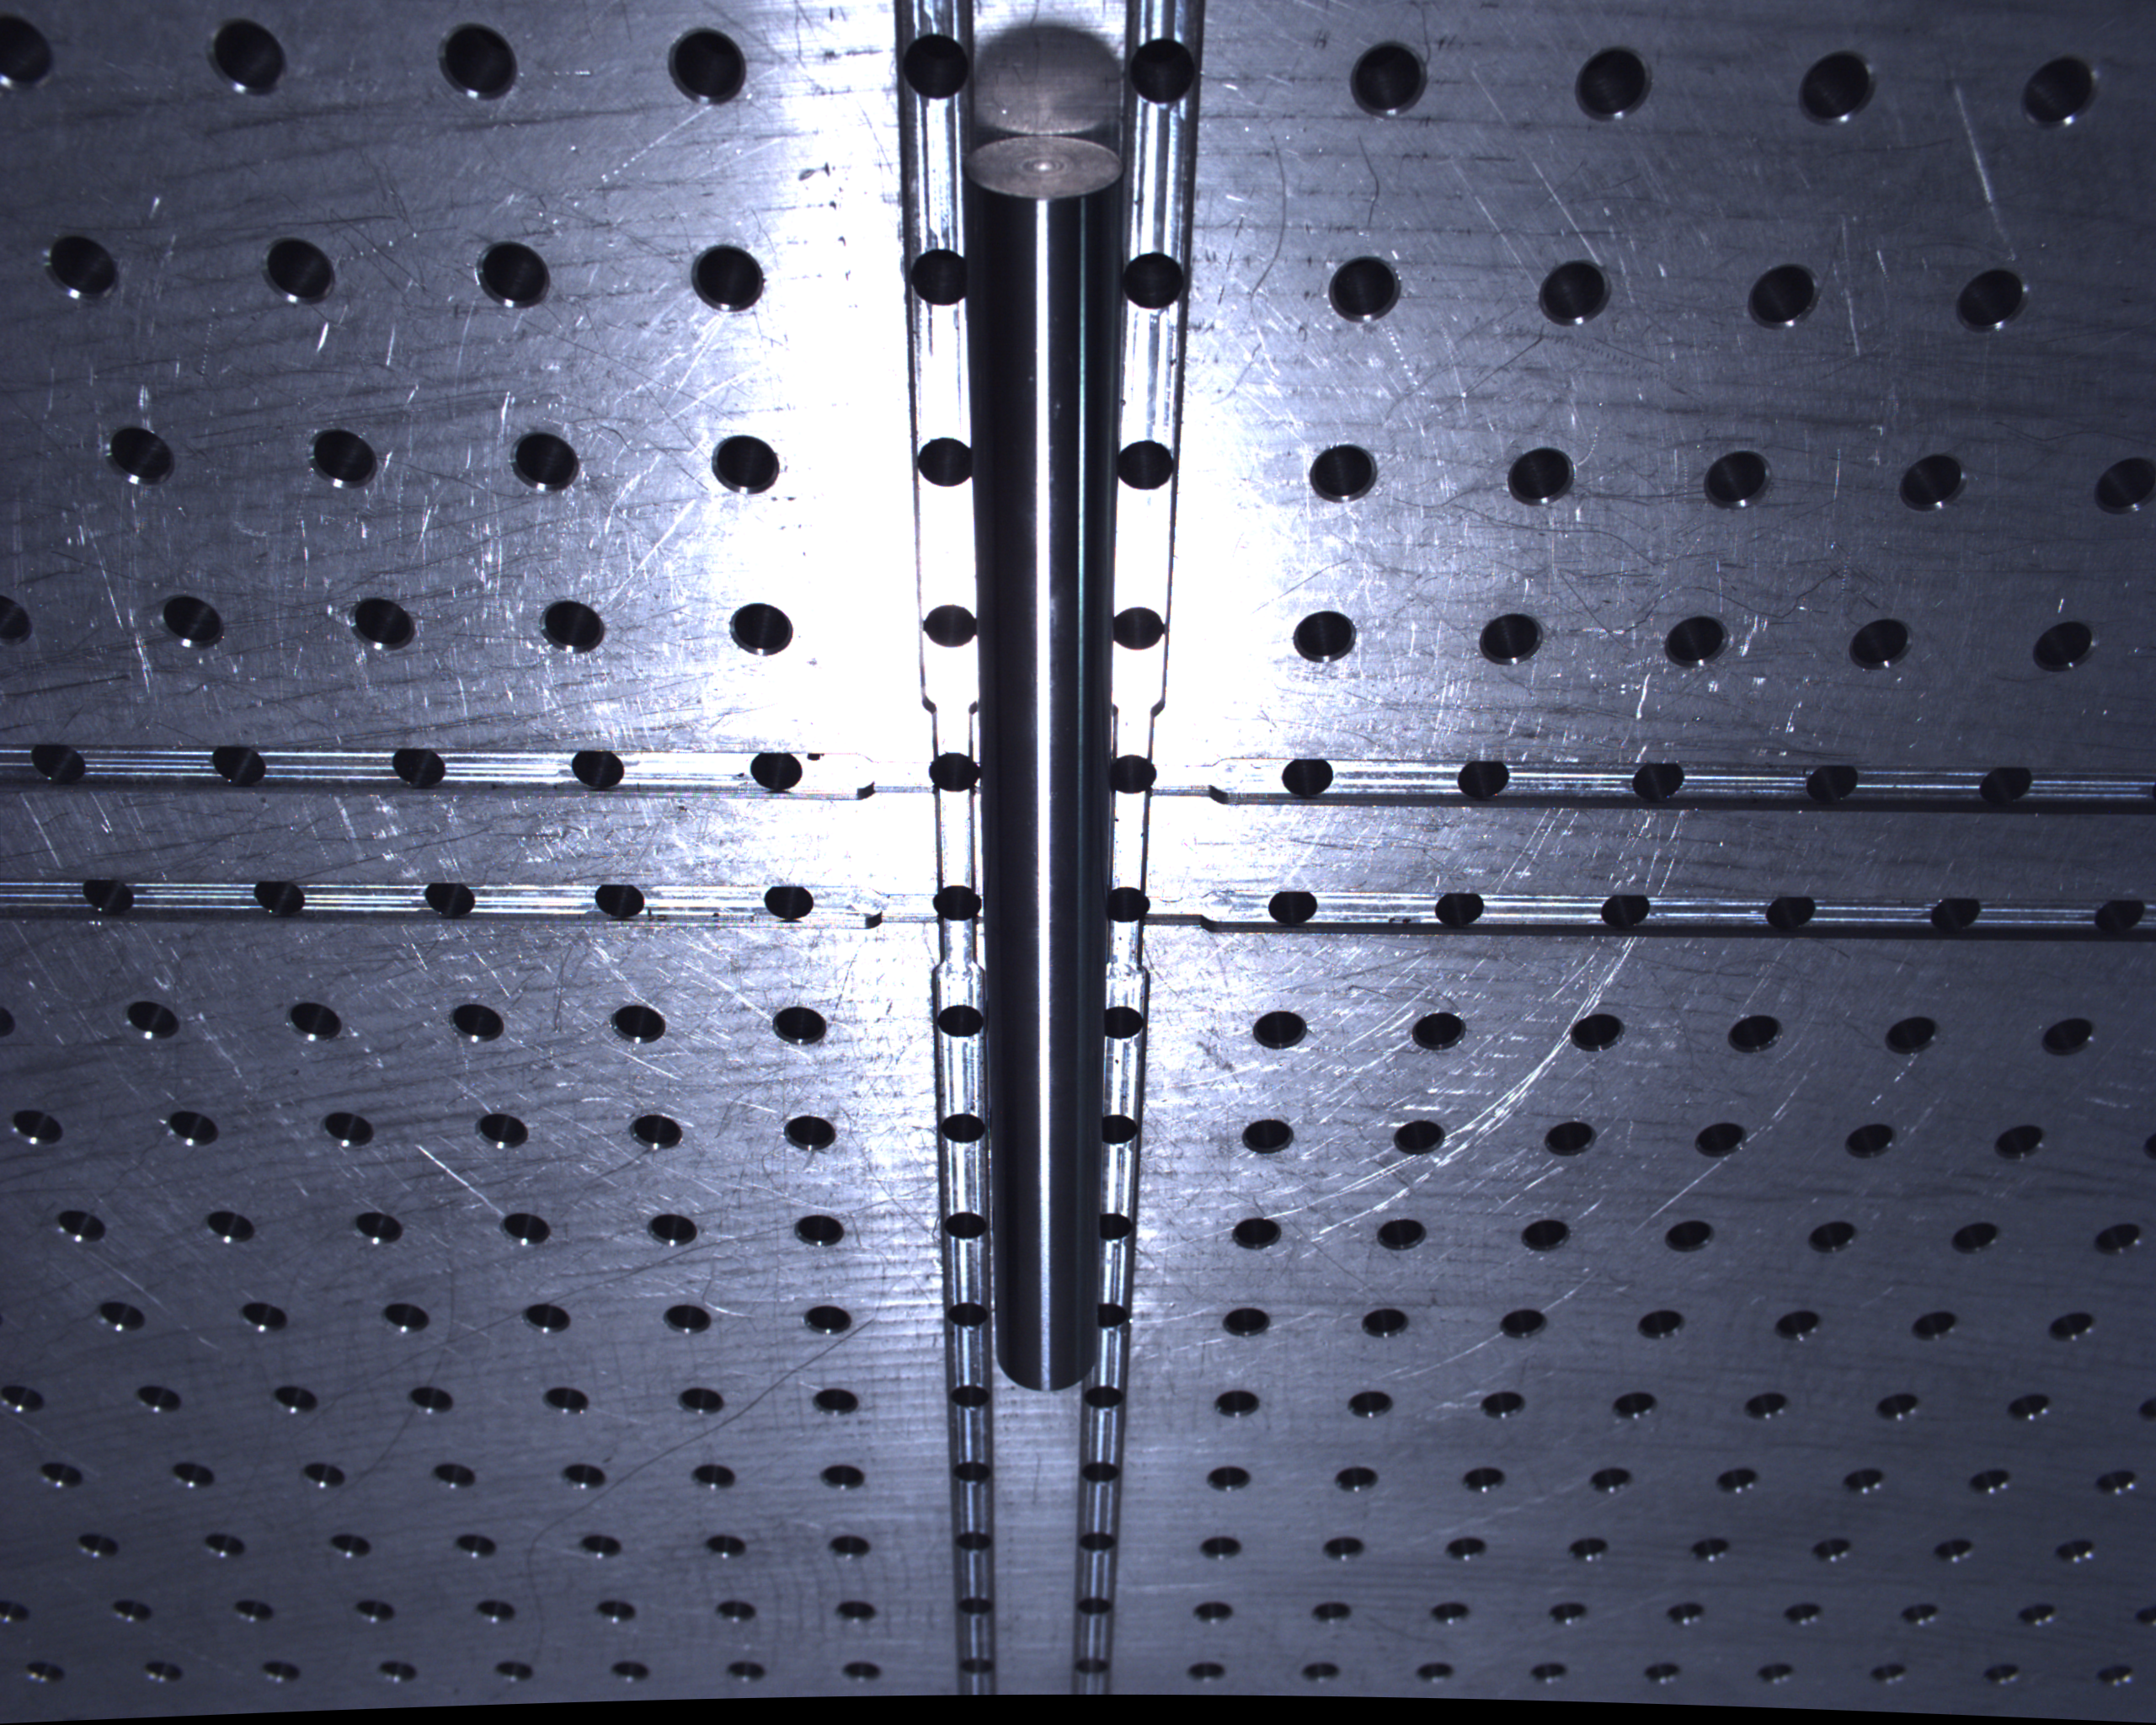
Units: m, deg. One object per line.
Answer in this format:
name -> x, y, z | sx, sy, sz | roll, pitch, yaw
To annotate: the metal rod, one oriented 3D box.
metal rod -> -0.006, 0.006, 0.417 | 0.025, 0.025, 0.298 | 0, 130, -1
